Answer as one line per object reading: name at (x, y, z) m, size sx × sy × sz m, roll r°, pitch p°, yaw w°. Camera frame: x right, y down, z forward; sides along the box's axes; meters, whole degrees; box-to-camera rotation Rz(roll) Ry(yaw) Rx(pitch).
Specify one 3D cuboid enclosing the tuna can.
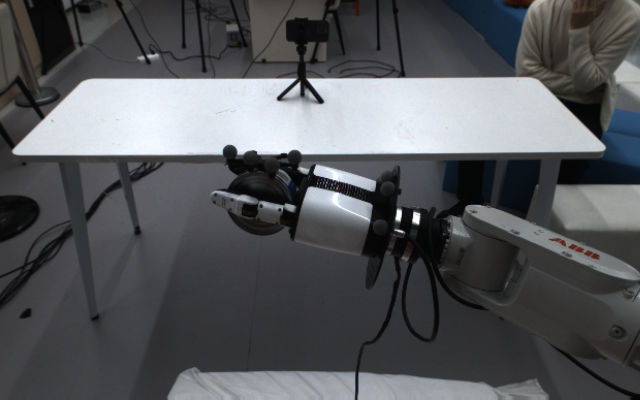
tuna can at (-0.070, 0.000, 0.605) m, size 0.085 × 0.085 × 0.034 m, roll 6°, pitch 23°, yaw 6°
